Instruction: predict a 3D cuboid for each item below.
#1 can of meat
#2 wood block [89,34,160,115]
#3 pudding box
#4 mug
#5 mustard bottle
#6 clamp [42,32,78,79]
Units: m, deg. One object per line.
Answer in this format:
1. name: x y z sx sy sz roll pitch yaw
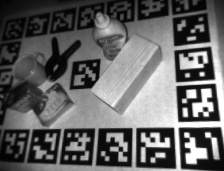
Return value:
1. can of meat: -0.298 0.034 0.694 0.101 0.084 0.057 -33 66 5
2. wood block: 0.037 -0.032 0.617 0.089 0.092 0.206 35 83 27
3. pudding box: -0.197 0.056 0.686 0.114 0.039 0.089 -41 66 -1
4. mug: -0.275 -0.060 0.750 0.092 0.082 0.117 19 80 23
5. mustard bottle: -0.016 -0.145 0.610 0.095 0.193 0.058 -10 70 16
6. clamp: -0.194 -0.102 0.744 0.120 0.037 0.165 16 80 20
